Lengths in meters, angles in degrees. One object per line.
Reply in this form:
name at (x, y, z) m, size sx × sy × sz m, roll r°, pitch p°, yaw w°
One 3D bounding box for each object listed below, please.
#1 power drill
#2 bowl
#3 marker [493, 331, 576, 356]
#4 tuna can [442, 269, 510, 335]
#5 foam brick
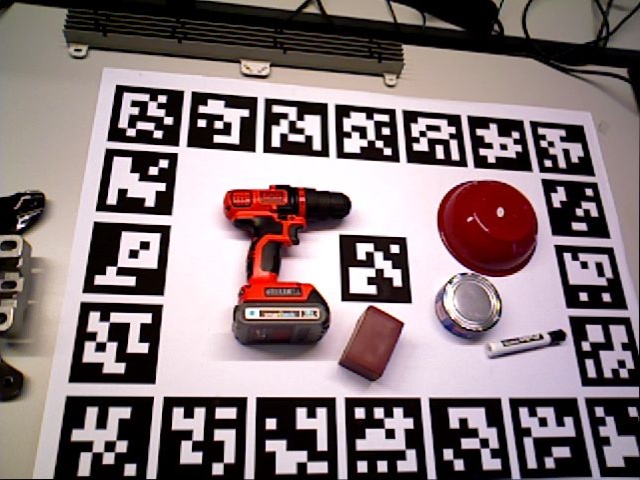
power drill at (-0.043, 0.019, 0.714) m, size 0.183 × 0.058 × 0.185 m, roll 3°, pitch 65°, yaw -13°
bowl at (0.258, -0.031, 0.795) m, size 0.160 × 0.056 × 0.159 m, roll 3°, pitch 60°, yaw -6°
marker at (0.294, 0.141, 0.739) m, size 0.120 × 0.020 × 0.019 m, roll -6°, pitch 70°, yaw -13°
tuna can at (0.211, 0.085, 0.740) m, size 0.085 × 0.034 × 0.085 m, roll 4°, pitch 67°, yaw -11°
foam brick at (0.071, 0.131, 0.694) m, size 0.051 × 0.054 × 0.077 m, roll 26°, pitch 67°, yaw -1°
